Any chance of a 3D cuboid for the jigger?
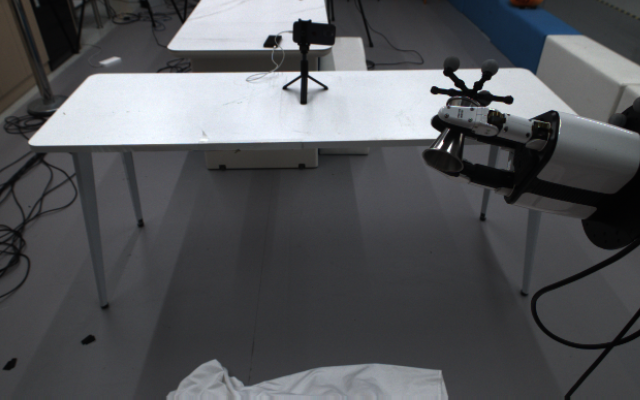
[{"bbox_3d":[0.140,-0.071,0.506,0.043,0.043,0.071,19,72,23],"label":"jigger"}]
